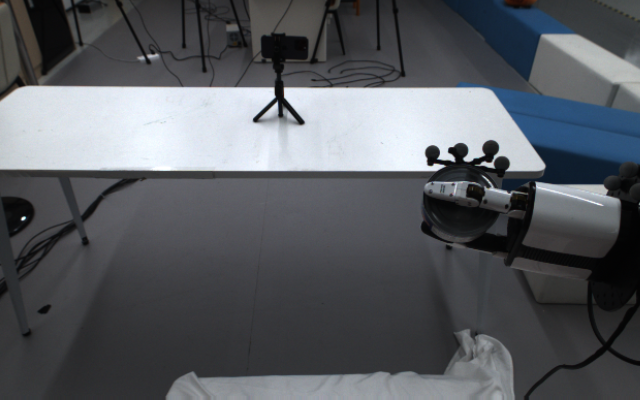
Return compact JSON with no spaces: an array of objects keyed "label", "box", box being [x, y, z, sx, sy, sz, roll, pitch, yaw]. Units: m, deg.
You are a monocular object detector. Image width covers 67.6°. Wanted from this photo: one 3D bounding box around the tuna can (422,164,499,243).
[{"label":"tuna can","box":[0.161,0.001,0.555,0.085,0.034,0.085,-2,70,6]}]
